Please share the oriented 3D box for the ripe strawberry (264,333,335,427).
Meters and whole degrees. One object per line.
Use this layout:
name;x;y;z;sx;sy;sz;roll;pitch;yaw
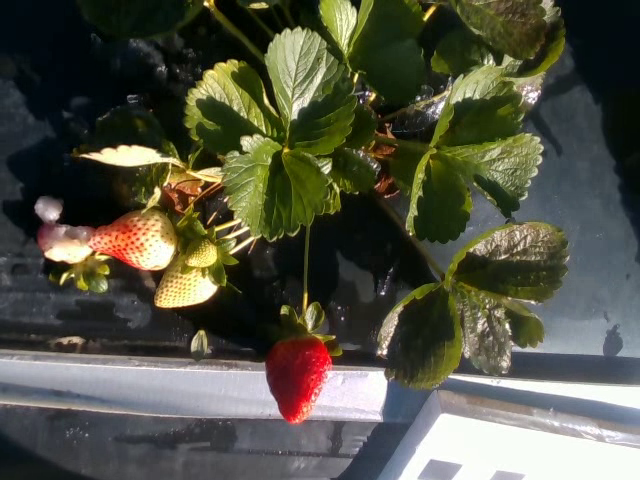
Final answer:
ripe strawberry;-0.012;0.067;0.287;0.036;0.046;0.038;14;-41;-9
